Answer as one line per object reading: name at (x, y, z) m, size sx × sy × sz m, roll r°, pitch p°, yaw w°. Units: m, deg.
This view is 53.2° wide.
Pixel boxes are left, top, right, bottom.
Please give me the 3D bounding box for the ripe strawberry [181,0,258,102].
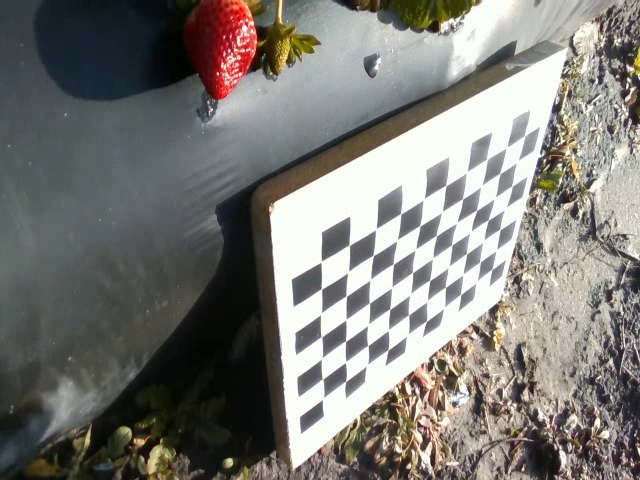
ripe strawberry at (-0.045, -0.089, 0.296) m, size 0.038 × 0.053 × 0.043 m, roll -15°, pitch -22°, yaw 30°
